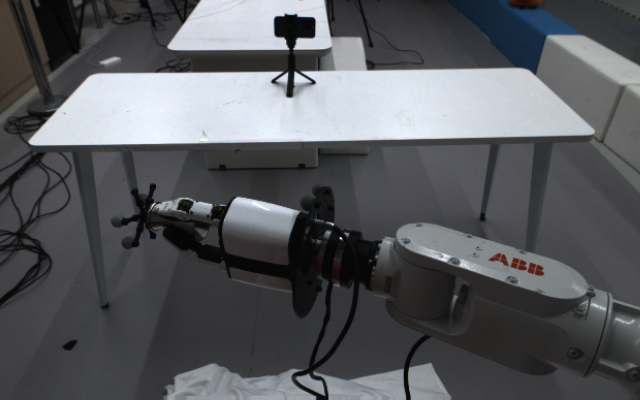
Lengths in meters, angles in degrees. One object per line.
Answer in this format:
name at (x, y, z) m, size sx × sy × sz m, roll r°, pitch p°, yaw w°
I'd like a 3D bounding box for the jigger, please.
jigger at (-0.177, 0.022, 0.626) m, size 0.071 × 0.043 × 0.043 m, roll 8°, pitch 35°, yaw 14°
